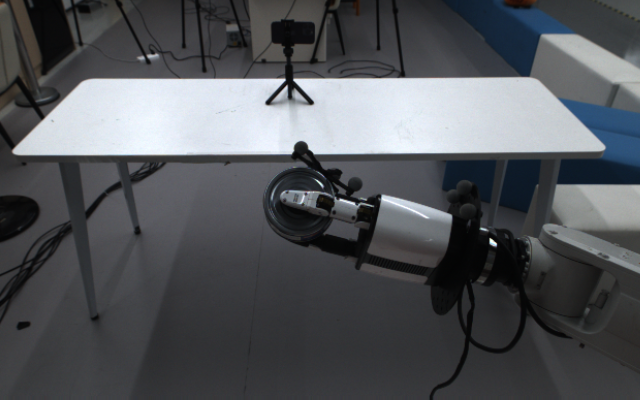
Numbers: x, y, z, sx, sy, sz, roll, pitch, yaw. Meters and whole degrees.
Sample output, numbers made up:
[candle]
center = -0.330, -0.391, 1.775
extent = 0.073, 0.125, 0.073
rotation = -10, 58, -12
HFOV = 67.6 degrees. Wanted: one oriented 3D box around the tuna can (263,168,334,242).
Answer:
[tuna can]
center = -0.020, 0.011, 0.569
extent = 0.085, 0.034, 0.085
rotation = 0, 74, 0
